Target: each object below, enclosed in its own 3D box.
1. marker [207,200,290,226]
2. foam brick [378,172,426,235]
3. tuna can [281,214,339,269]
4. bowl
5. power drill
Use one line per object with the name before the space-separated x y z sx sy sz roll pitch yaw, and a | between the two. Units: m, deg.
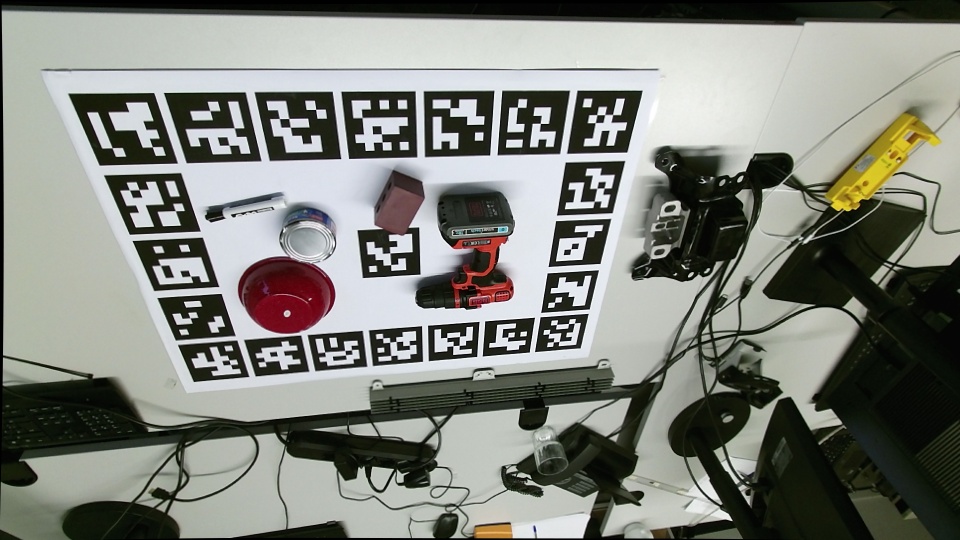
marker | -0.352 -0.086 0.813 0.121 0.019 0.019 -11 126 -3
foam brick | -0.122 -0.103 0.837 0.051 0.052 0.078 18 120 -22
tuna can | -0.268 -0.046 0.853 0.086 0.033 0.086 -4 127 -6
bowl | -0.323 0.061 0.922 0.162 0.055 0.162 -8 135 -8
power drill | -0.012 -0.017 0.918 0.185 0.057 0.187 -3 129 -5
